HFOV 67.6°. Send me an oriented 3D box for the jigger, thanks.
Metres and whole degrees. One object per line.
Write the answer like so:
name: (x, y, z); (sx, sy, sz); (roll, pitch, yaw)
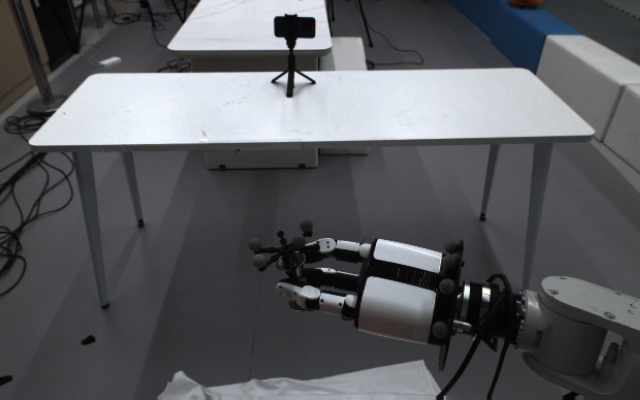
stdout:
jigger: (-0.028, 0.104, 0.628); (0.043, 0.071, 0.043); (-12, 29, 7)
